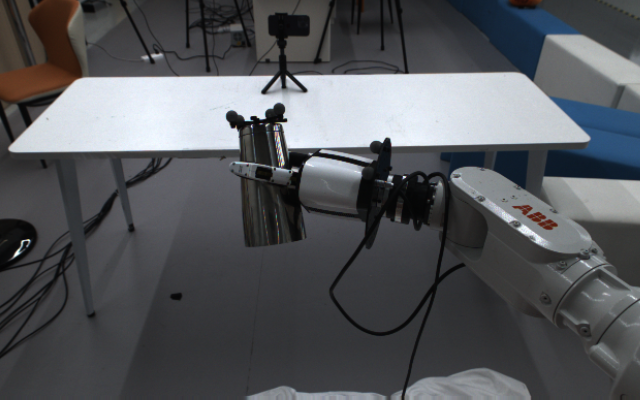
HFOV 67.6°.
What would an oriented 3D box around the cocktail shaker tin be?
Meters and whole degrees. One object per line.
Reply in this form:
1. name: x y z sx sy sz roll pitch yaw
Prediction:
1. cocktail shaker tin: -0.077 -0.022 0.711 0.093 0.170 0.093 -8 1 0
